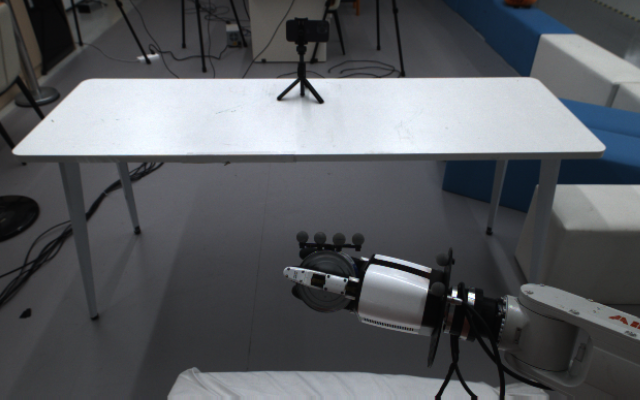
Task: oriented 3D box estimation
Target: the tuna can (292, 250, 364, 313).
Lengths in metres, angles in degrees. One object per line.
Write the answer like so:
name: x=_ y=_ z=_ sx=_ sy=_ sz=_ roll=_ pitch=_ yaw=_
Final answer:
tuna can: x=0.013 y=0.116 z=0.666 sx=0.085 sy=0.085 sz=0.034 roll=13 pitch=-3 yaw=15
